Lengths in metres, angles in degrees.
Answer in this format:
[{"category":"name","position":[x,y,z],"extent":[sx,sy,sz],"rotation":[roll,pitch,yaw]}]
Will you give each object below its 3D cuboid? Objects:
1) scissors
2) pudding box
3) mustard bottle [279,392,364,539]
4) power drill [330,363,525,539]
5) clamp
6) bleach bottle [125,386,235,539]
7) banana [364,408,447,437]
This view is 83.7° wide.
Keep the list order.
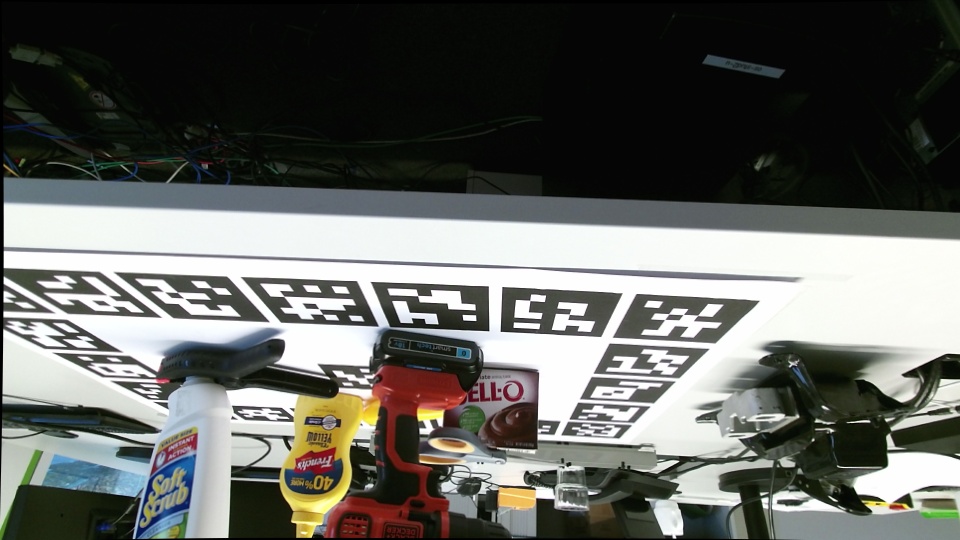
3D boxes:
[{"category":"scissors","position":[0.024,0.233,0.619],"extent":[0.203,0.016,0.088],"rotation":[20,142,-17]},{"category":"pudding box","position":[0.019,0.174,0.645],"extent":[0.114,0.089,0.039],"rotation":[5,156,-1]},{"category":"mustard bottle","position":[-0.226,0.271,0.748],"extent":[0.096,0.190,0.058],"rotation":[11,149,-10]},{"category":"power drill","position":[-0.044,0.193,0.536],"extent":[0.185,0.186,0.057],"rotation":[7,156,-11]},{"category":"clamp","position":[-0.296,0.138,0.645],"extent":[0.203,0.036,0.166],"rotation":[1,147,8]},{"category":"bleach bottle","position":[-0.337,0.234,0.606],"extent":[0.103,0.249,0.068],"rotation":[-13,150,14]},{"category":"banana","position":[-0.114,0.228,0.790],"extent":[0.198,0.038,0.074],"rotation":[-21,158,35]}]
